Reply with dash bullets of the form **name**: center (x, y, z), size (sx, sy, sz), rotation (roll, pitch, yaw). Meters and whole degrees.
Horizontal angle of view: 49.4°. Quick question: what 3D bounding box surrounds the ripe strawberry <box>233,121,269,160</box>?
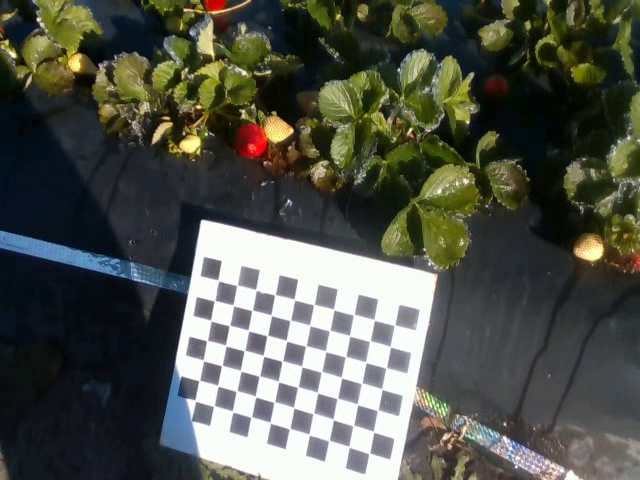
- **ripe strawberry**: center (-0.073, -0.102, 0.721), size (0.040, 0.042, 0.053), rotation (-24, 25, 2)
